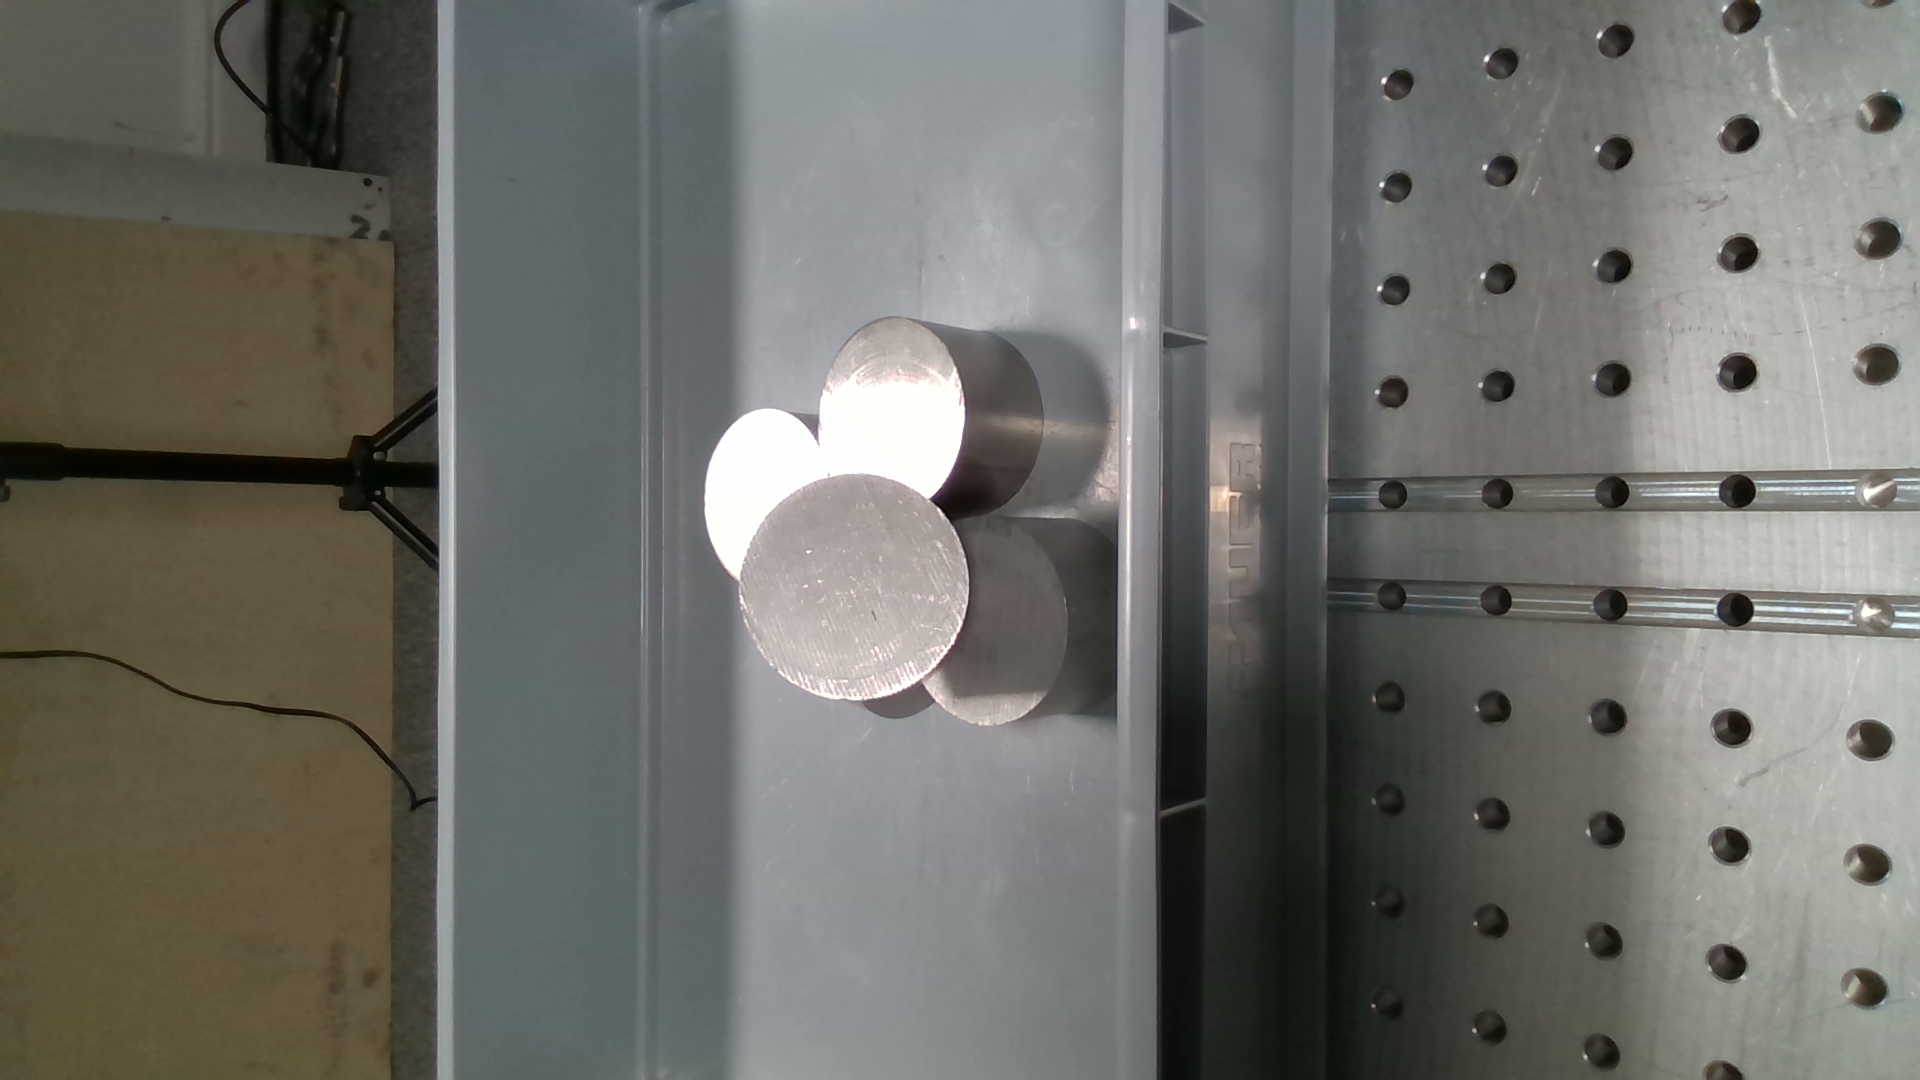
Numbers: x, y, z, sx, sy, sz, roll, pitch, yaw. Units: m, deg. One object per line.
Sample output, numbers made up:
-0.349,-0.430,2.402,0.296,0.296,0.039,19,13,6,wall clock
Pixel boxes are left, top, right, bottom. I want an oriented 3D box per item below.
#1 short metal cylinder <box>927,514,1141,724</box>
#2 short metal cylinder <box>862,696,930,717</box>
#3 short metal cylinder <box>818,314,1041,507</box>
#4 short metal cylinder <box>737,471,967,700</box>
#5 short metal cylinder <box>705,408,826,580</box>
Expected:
0.024,0.030,0.544,0.080,0.050,0.080,0,91,40,short metal cylinder
-0.036,0.028,0.576,0.050,0.080,0.080,17,101,39,short metal cylinder
-0.013,-0.051,0.574,0.080,0.050,0.080,0,91,40,short metal cylinder
-0.037,0.019,0.504,0.080,0.050,0.080,0,83,0,short metal cylinder
-0.070,-0.018,0.623,0.080,0.050,0.080,0,91,40,short metal cylinder
